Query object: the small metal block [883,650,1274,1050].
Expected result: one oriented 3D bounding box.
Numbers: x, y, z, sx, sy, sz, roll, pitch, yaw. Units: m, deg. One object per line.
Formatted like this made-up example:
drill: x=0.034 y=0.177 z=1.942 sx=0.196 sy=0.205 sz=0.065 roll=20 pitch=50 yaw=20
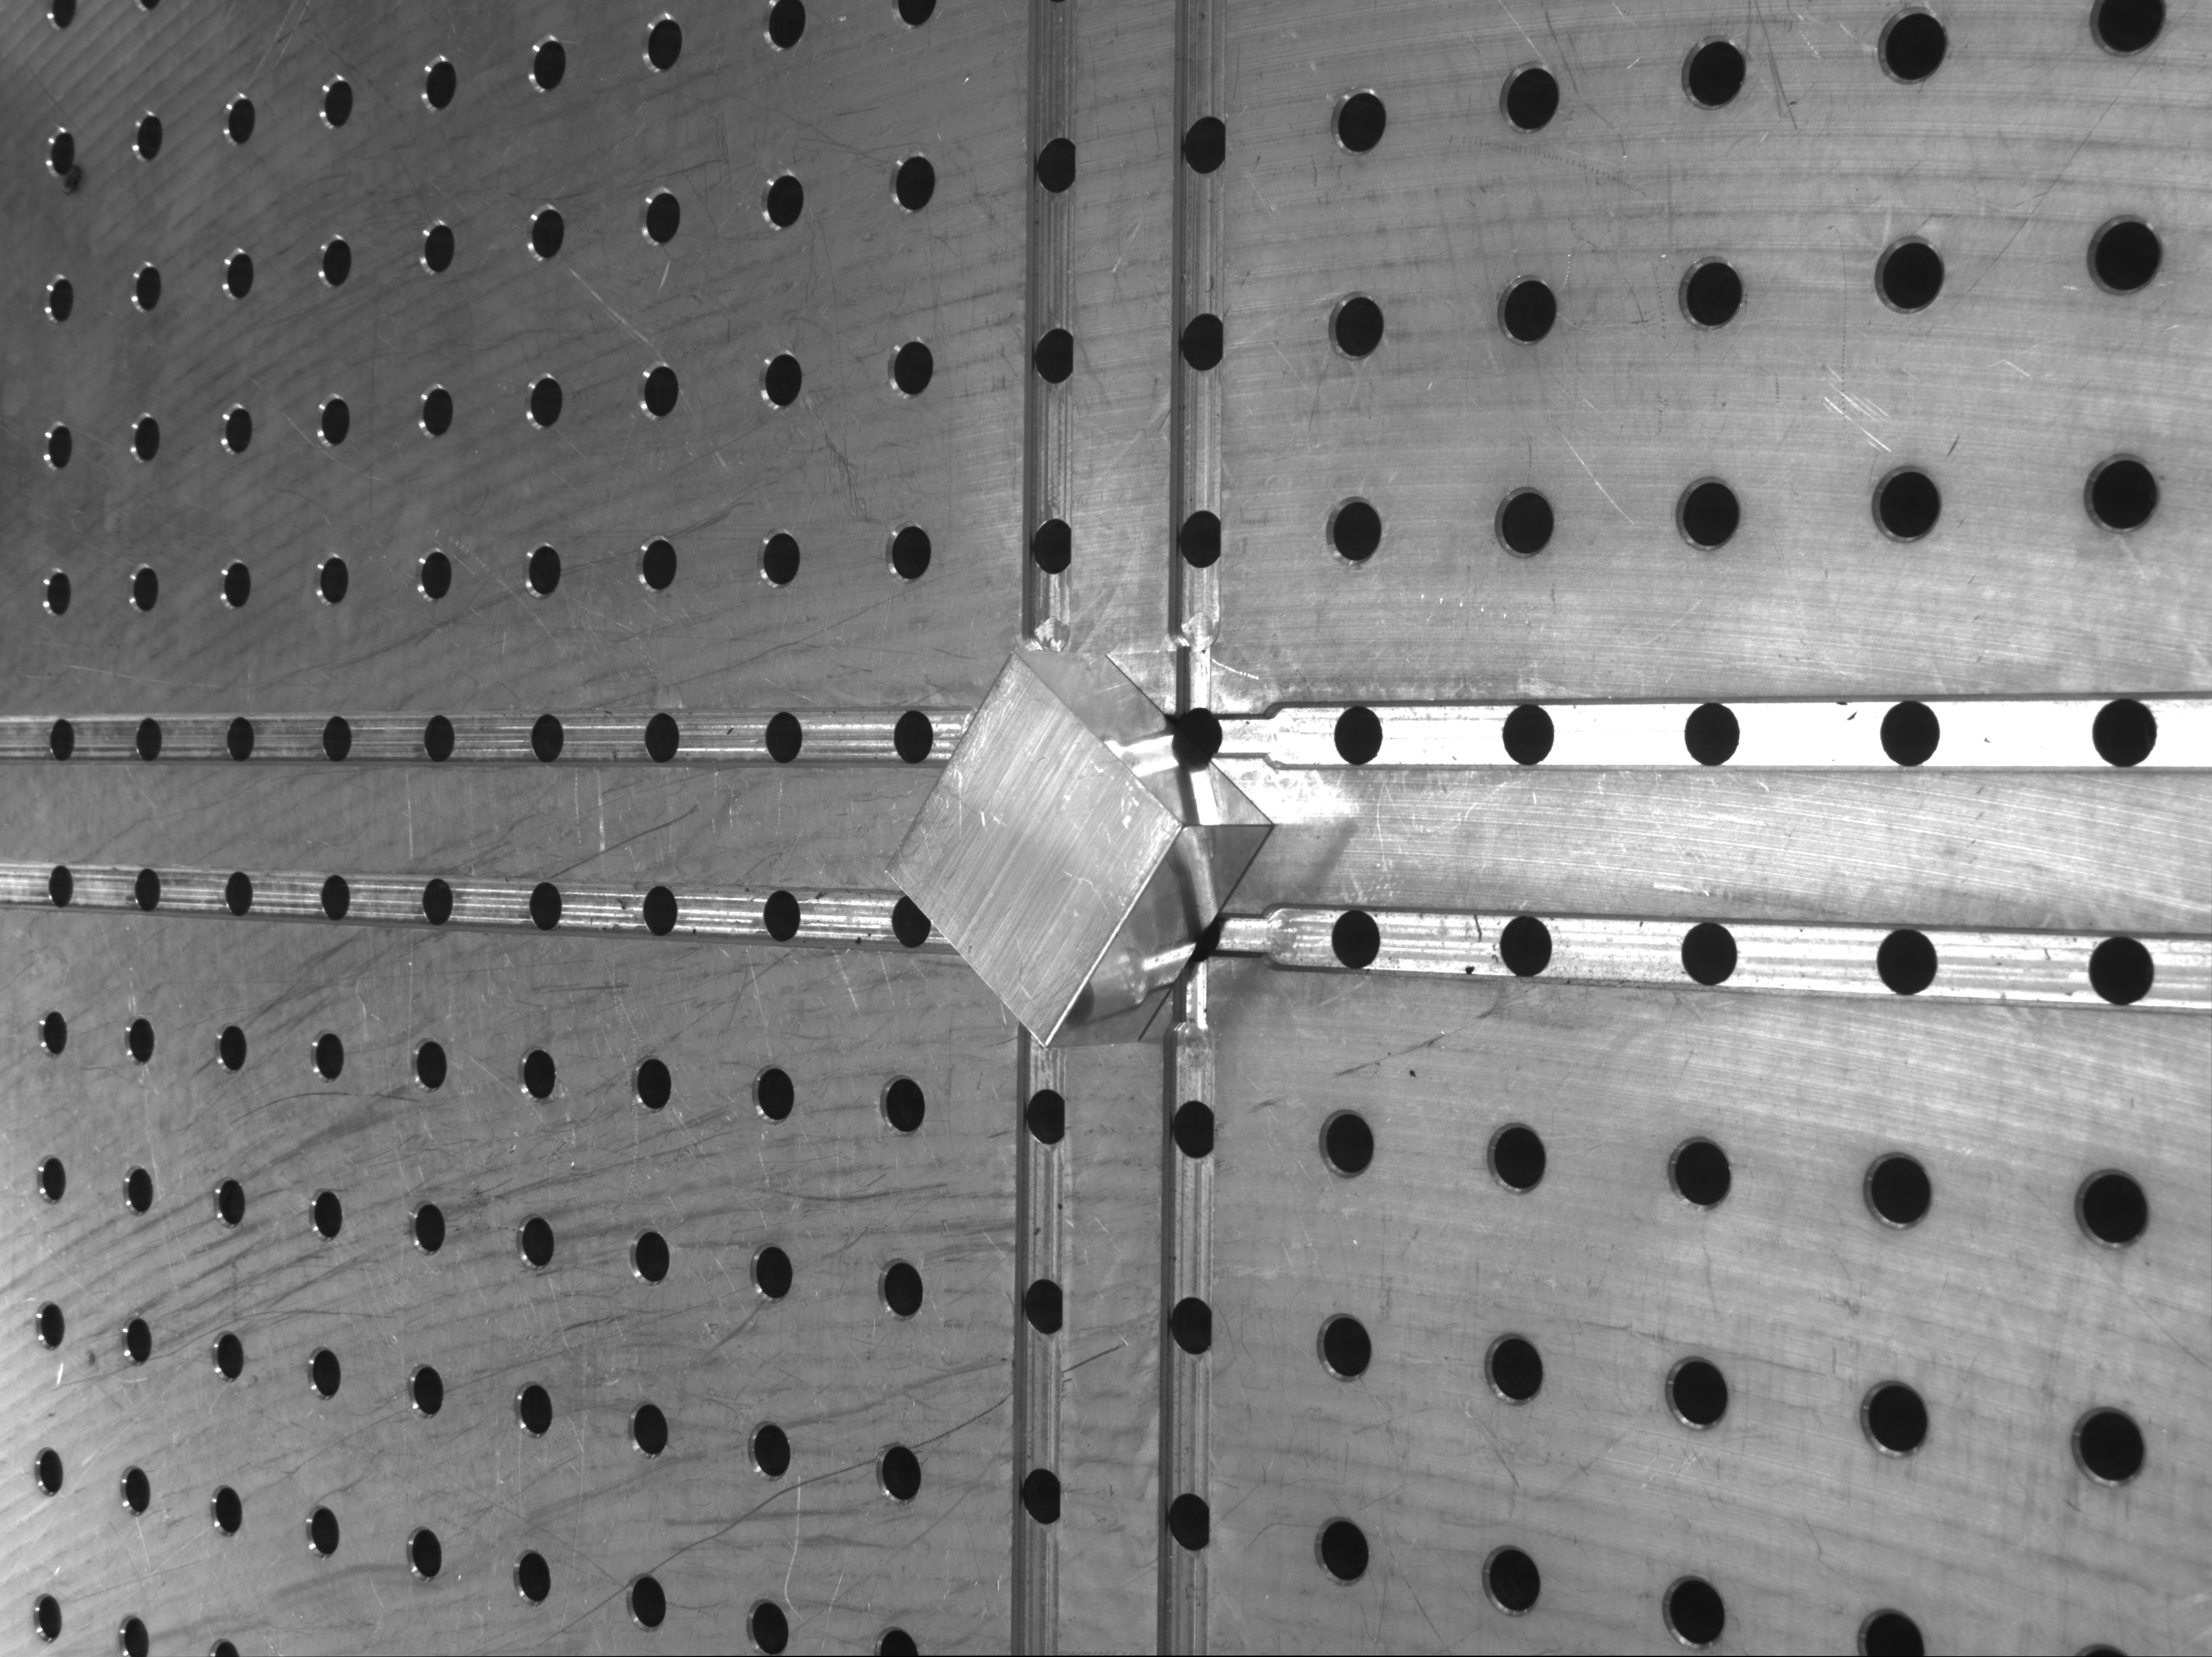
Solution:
small metal block: x=-0.006 y=0.004 z=0.654 sx=0.050 sy=0.025 sz=0.050 roll=46 pitch=118 yaw=30
